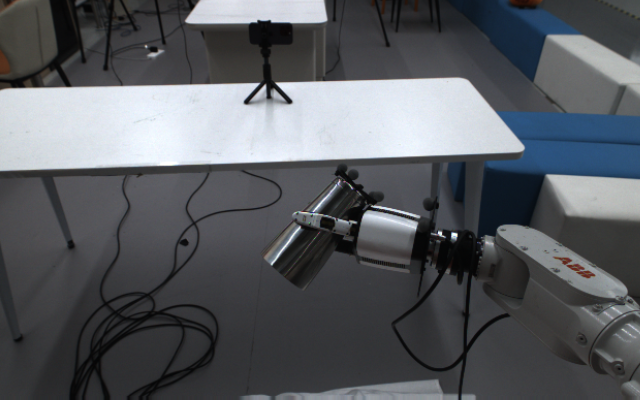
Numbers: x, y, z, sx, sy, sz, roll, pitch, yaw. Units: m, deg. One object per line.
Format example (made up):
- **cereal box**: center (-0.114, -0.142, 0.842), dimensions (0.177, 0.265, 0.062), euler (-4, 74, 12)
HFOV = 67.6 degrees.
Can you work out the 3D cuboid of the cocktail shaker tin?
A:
- **cocktail shaker tin**: center (-0.003, 0.046, 0.769), dimensions (0.170, 0.093, 0.093), euler (-49, 49, -3)
